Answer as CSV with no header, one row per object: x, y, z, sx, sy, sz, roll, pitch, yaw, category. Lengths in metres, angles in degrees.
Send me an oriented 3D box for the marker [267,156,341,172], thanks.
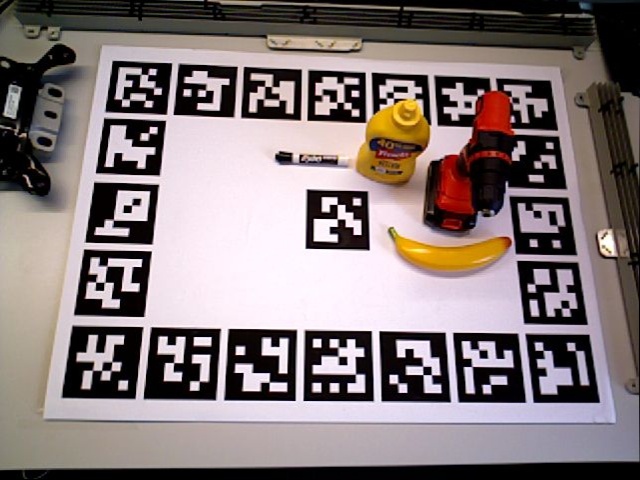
-0.026,-0.126,0.892,0.120,0.020,0.019,3,74,-3,marker

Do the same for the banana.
0.195,0.031,0.854,0.196,0.039,0.074,8,75,1,banana

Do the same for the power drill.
0.213,-0.083,0.786,0.057,0.190,0.182,14,70,-2,power drill

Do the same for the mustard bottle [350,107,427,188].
0.107,-0.141,0.814,0.096,0.194,0.058,12,72,-2,mustard bottle
